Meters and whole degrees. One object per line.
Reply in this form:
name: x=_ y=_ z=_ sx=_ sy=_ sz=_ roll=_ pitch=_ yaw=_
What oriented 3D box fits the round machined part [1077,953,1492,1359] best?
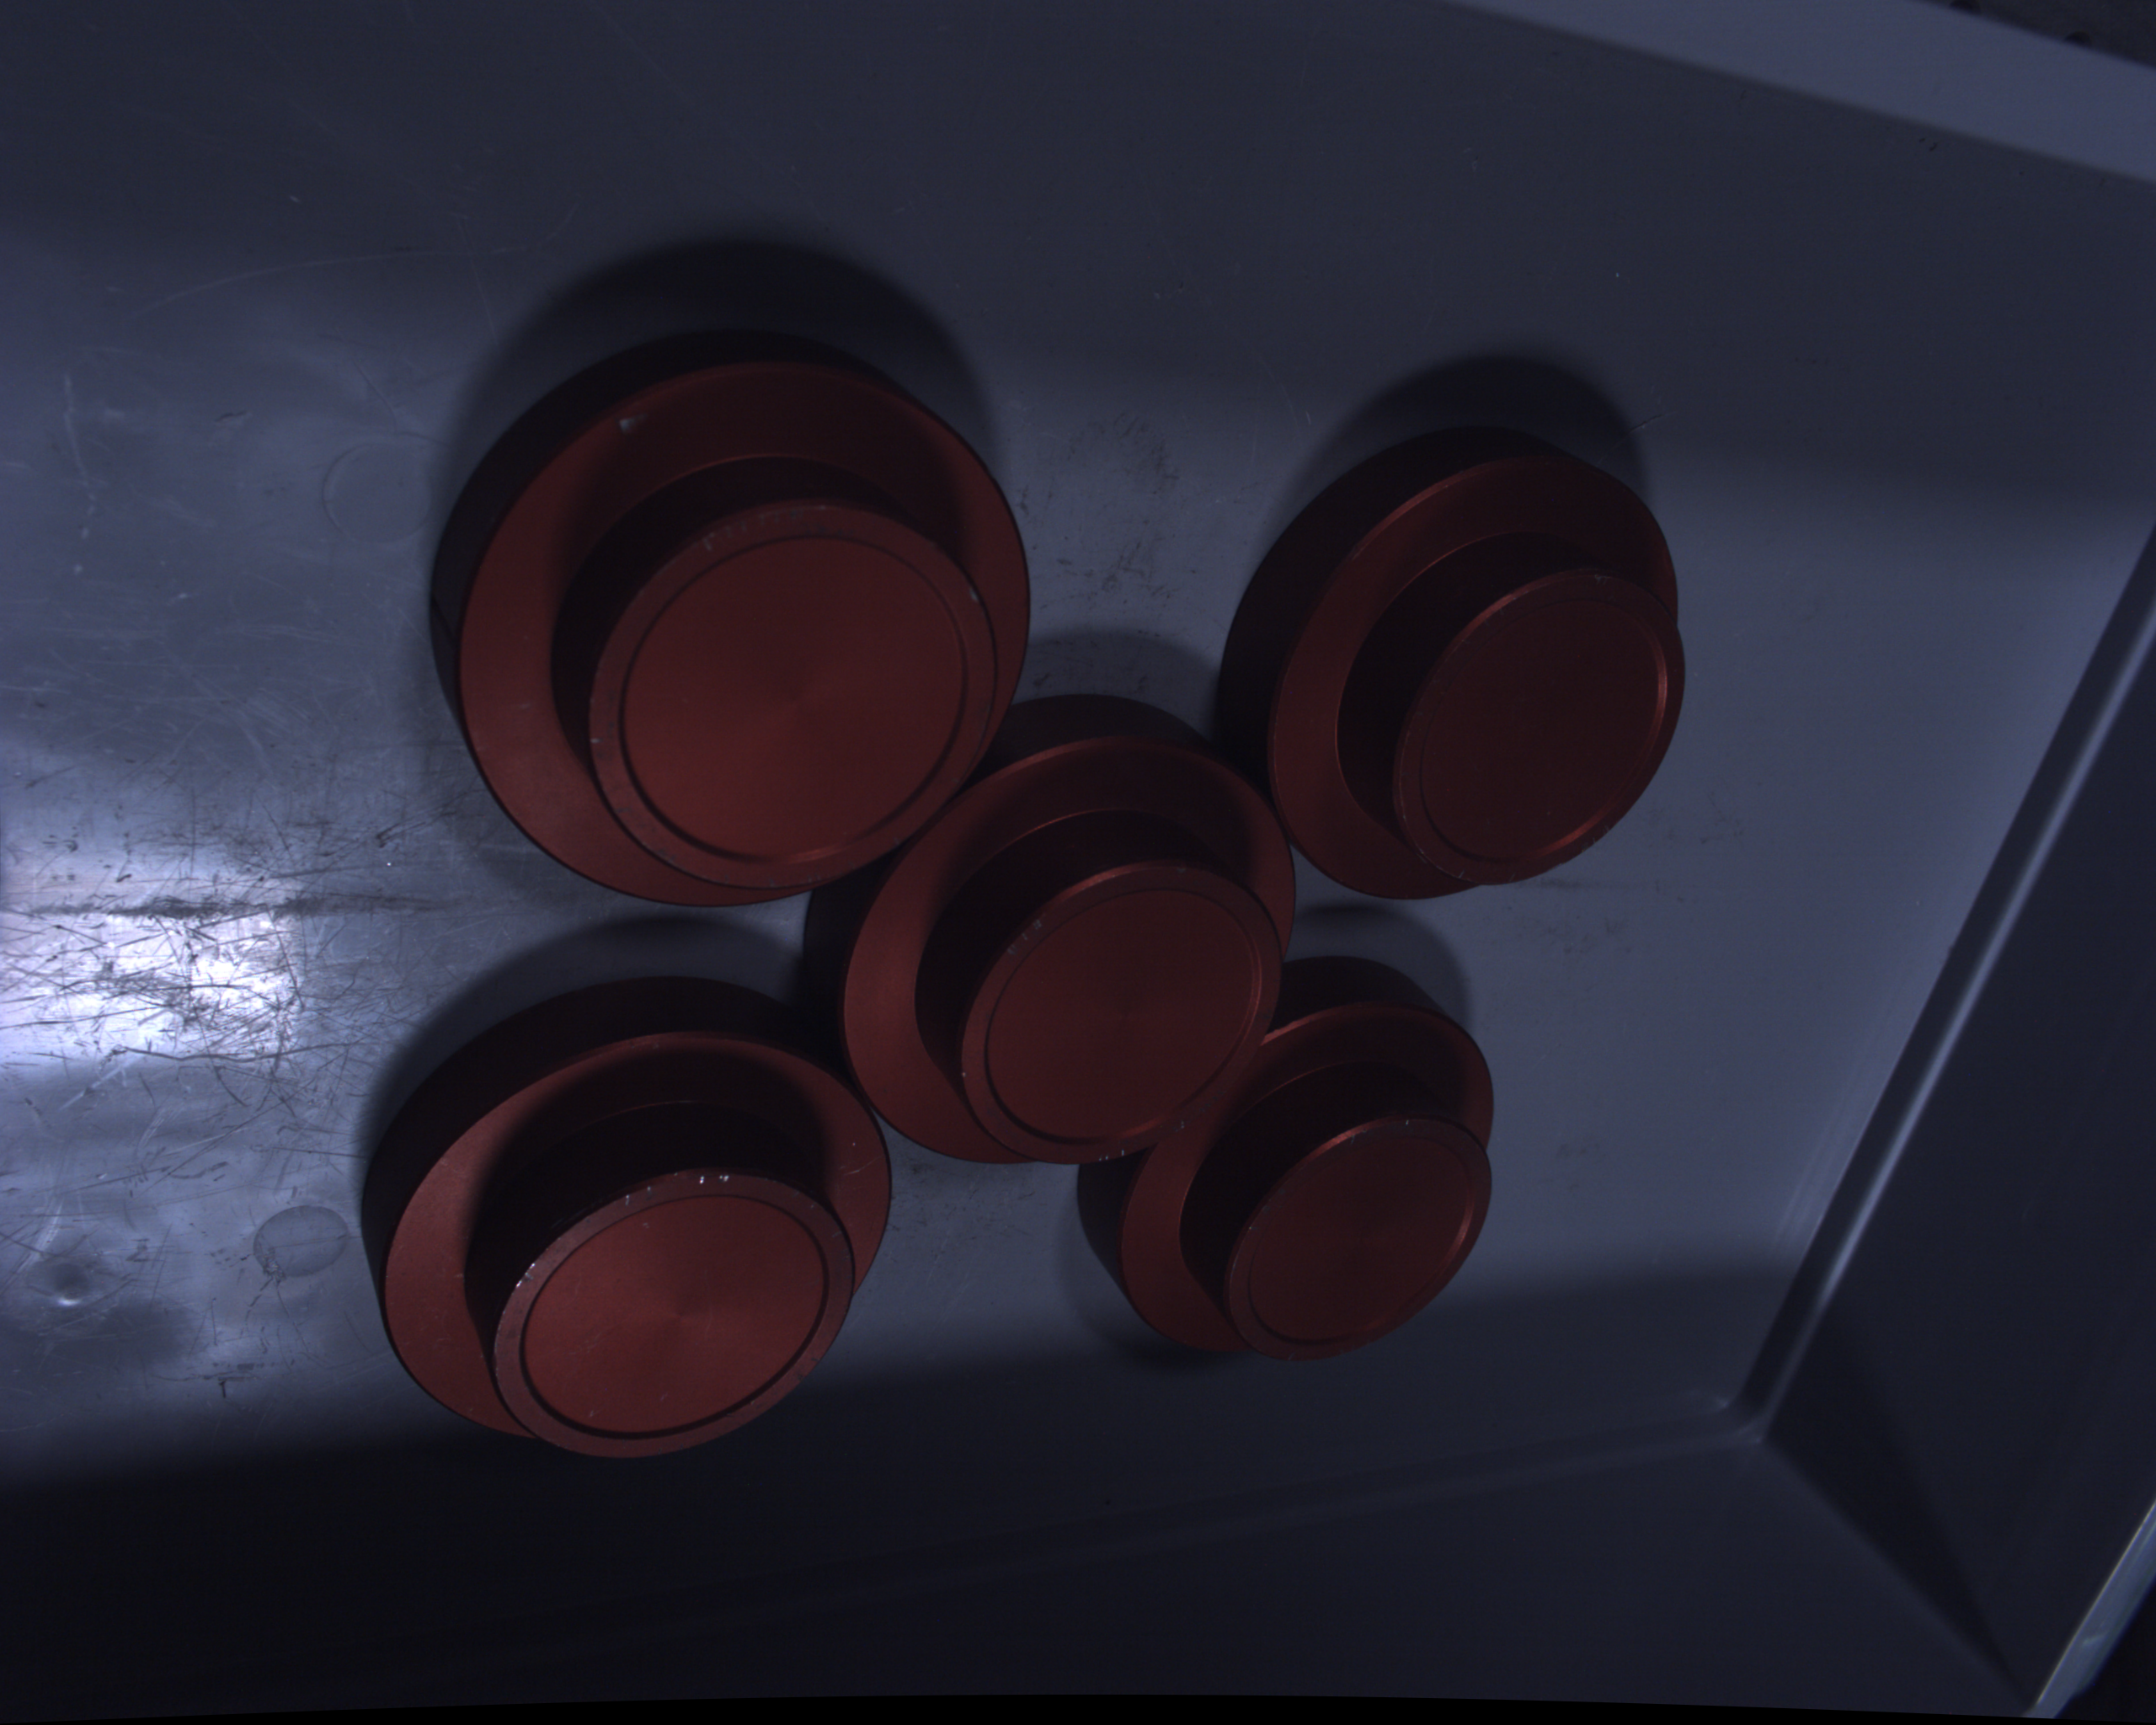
round machined part: x=0.053 y=0.073 z=0.472 sx=0.099 sy=0.042 sz=0.097 roll=-14 pitch=125 yaw=-21

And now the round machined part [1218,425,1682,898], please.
round machined part: x=0.081 y=-0.035 z=0.421 sx=0.099 sy=0.042 sz=0.097 roll=-14 pitch=125 yaw=-21

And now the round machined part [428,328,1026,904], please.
round machined part: x=-0.053 y=-0.035 z=0.346 sx=0.099 sy=0.042 sz=0.097 roll=-14 pitch=125 yaw=-21

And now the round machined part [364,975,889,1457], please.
round machined part: x=-0.082 y=0.073 z=0.398 sx=0.099 sy=0.042 sz=0.097 roll=-14 pitch=125 yaw=-21

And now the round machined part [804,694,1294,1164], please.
round machined part: x=0.000 y=0.020 z=0.409 sx=0.099 sy=0.042 sz=0.097 roll=-14 pitch=125 yaw=-21
